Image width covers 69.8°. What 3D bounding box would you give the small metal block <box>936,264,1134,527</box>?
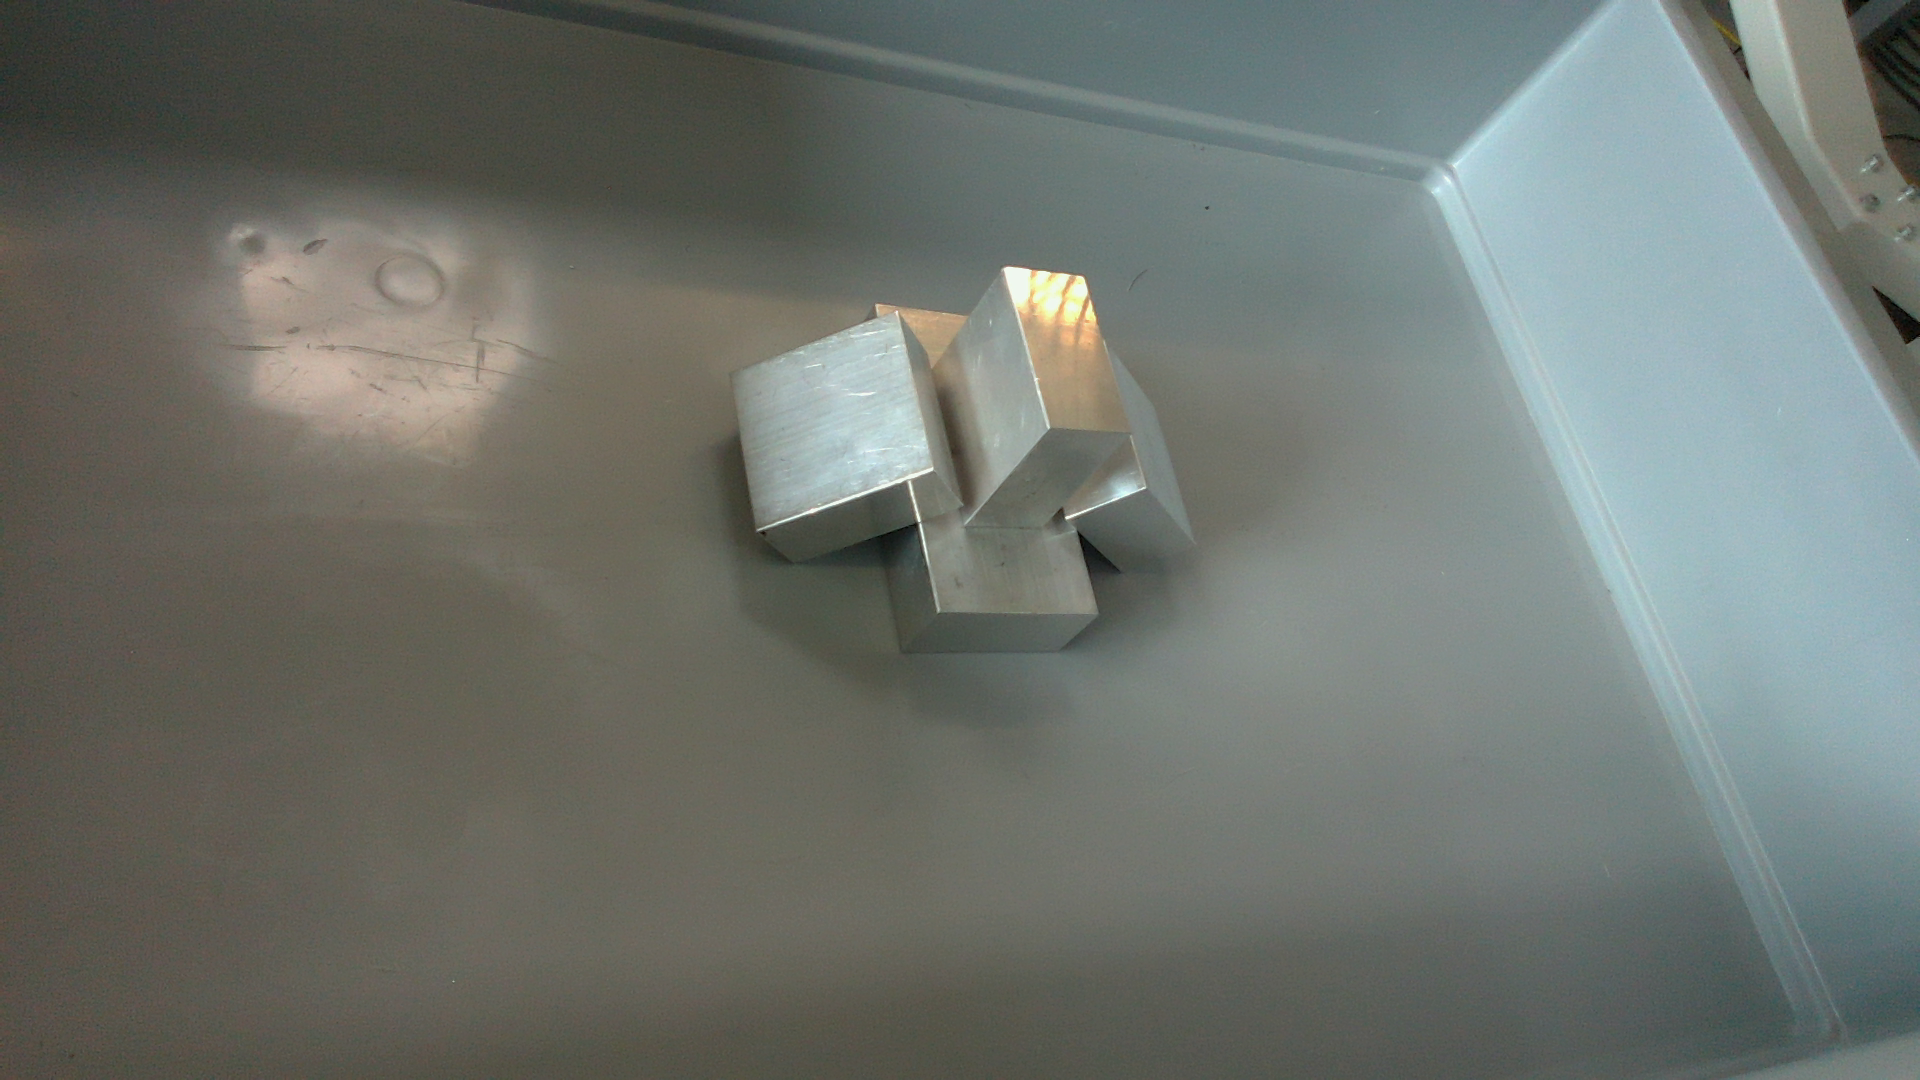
[{"bbox_3d":[0.017,-0.038,0.371,0.025,0.050,0.050,1,61,-28],"label":"small metal block"}]

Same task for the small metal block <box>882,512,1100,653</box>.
[{"bbox_3d":[0.006,0.004,0.388,0.050,0.025,0.050,2,61,-27],"label":"small metal block"}]

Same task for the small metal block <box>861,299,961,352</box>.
[{"bbox_3d":[-0.004,-0.041,0.410,0.050,0.025,0.050,3,60,-28],"label":"small metal block"}]

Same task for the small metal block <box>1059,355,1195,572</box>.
[{"bbox_3d":[0.045,-0.024,0.412,0.050,0.025,0.050,37,36,-58],"label":"small metal block"}]

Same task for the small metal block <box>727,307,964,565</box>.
[{"bbox_3d":[-0.031,-0.027,0.370,0.050,0.025,0.050,-19,64,11],"label":"small metal block"}]
